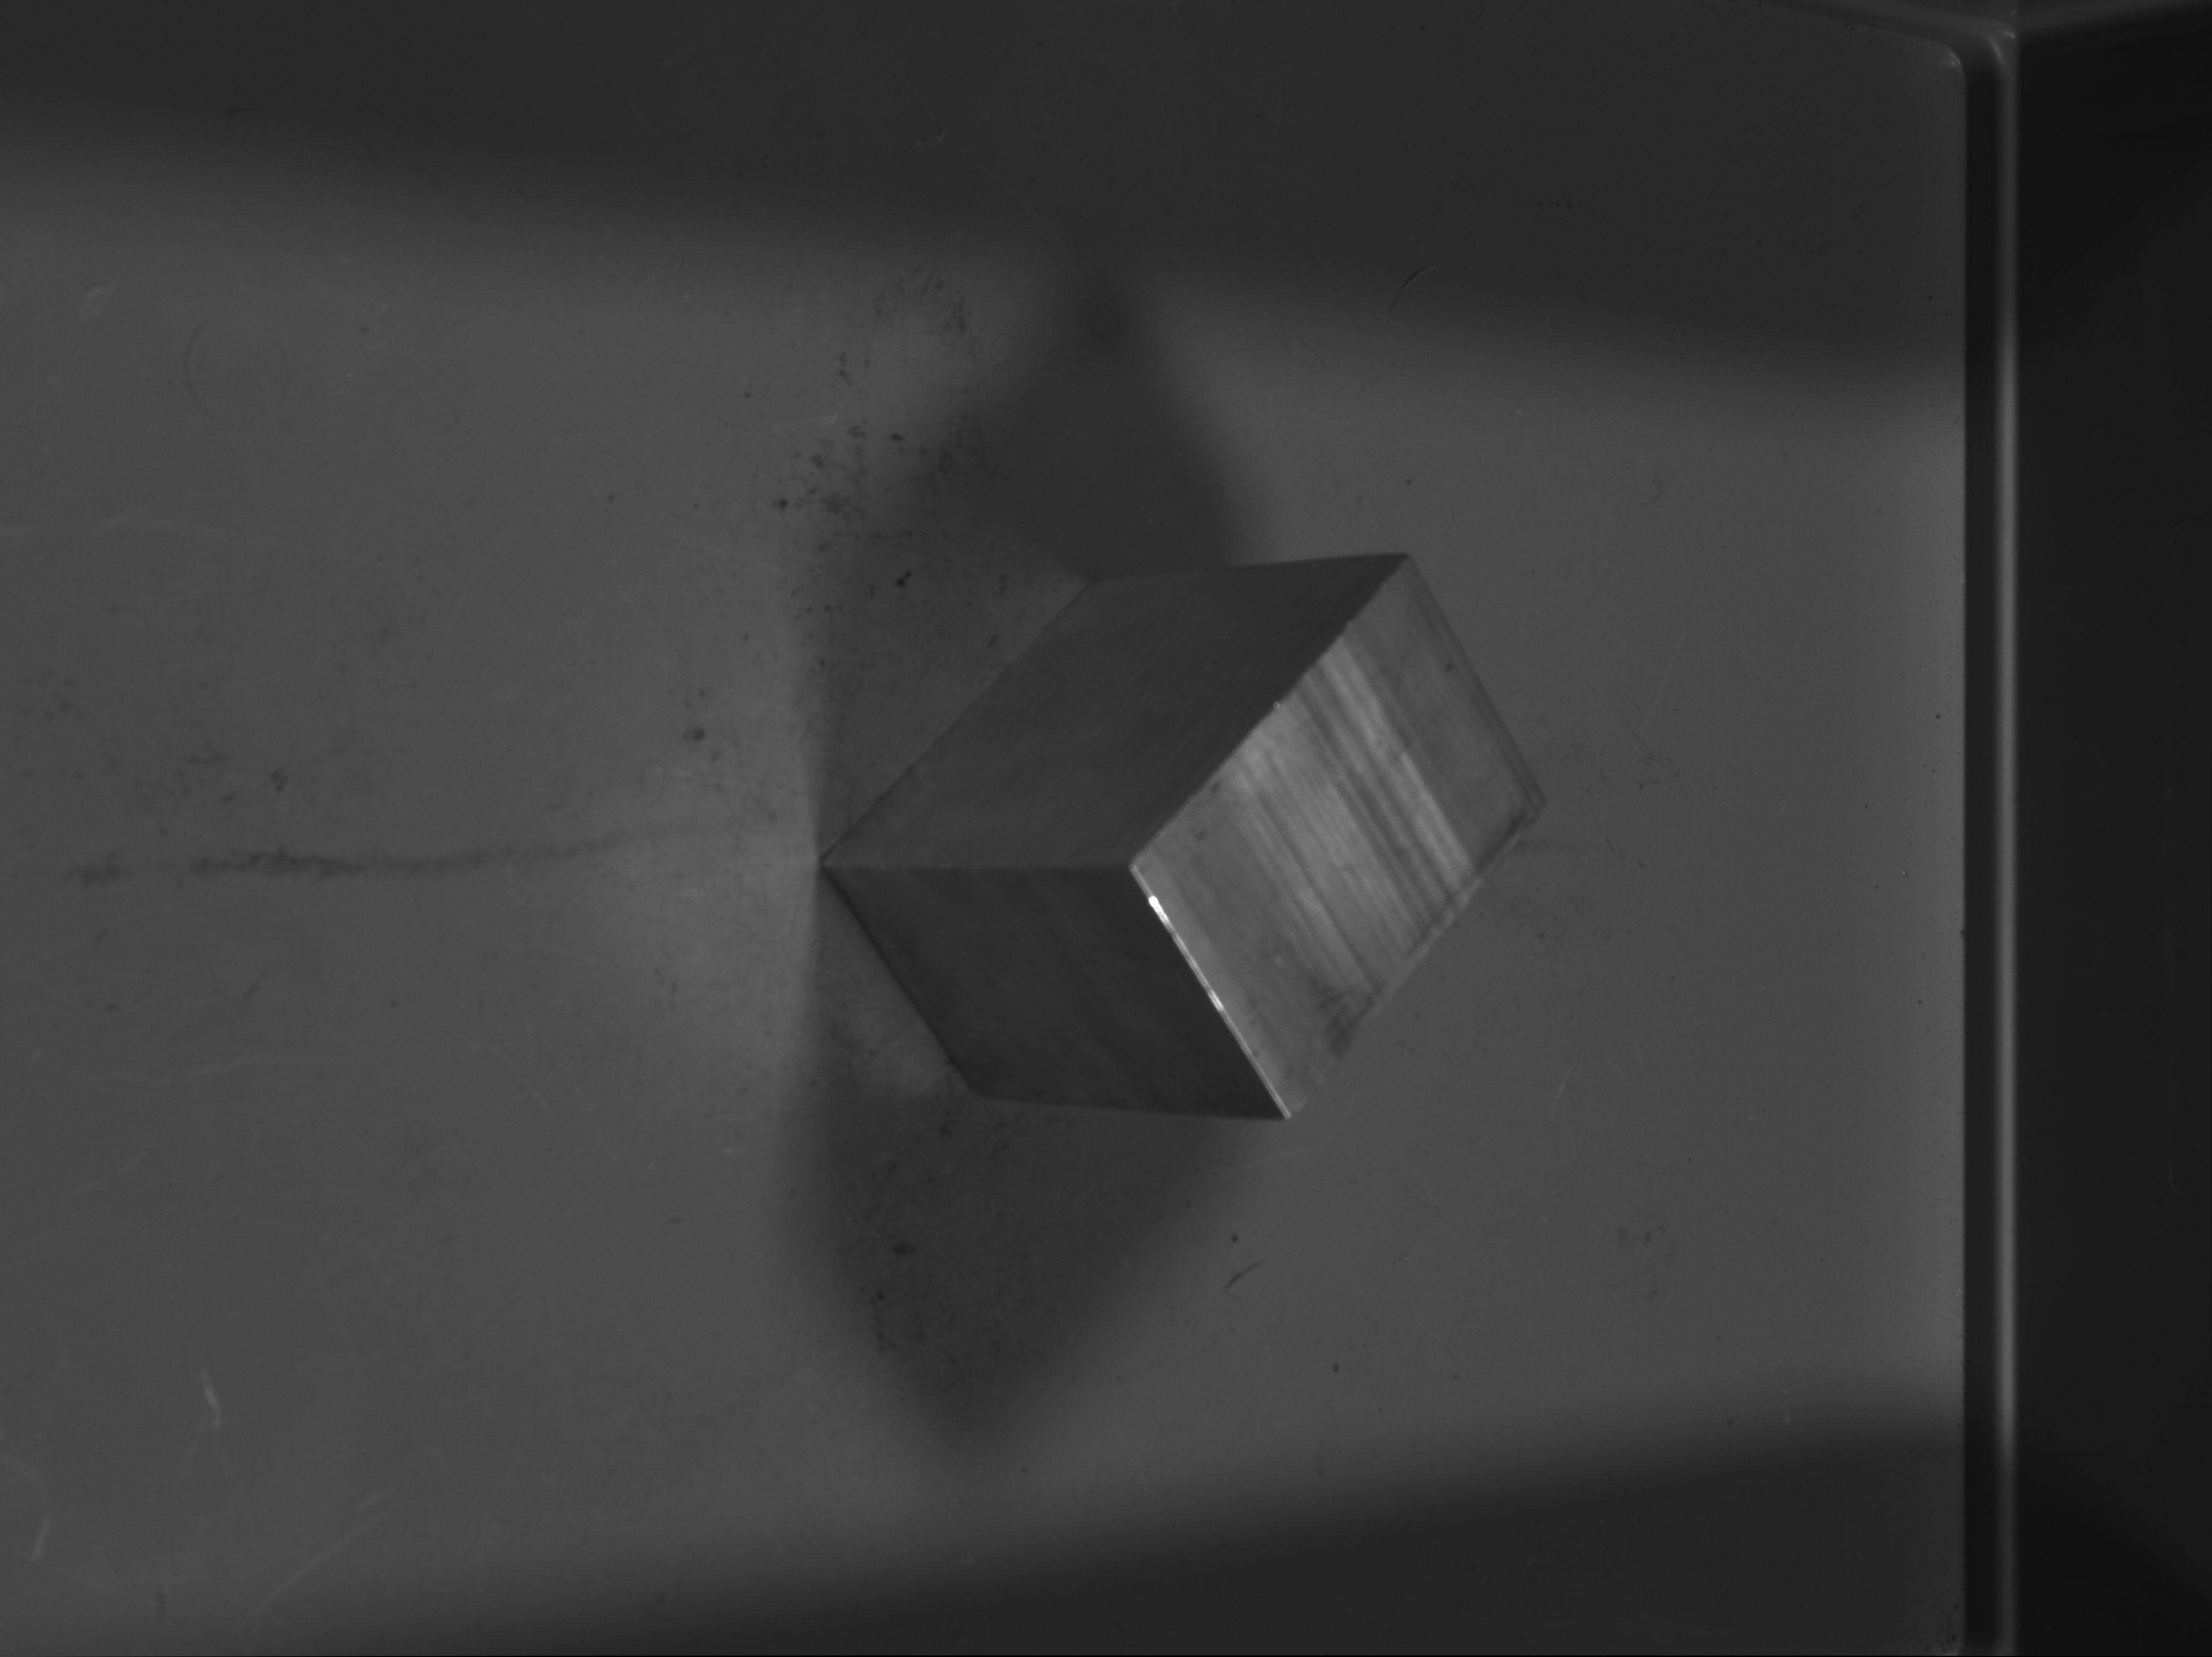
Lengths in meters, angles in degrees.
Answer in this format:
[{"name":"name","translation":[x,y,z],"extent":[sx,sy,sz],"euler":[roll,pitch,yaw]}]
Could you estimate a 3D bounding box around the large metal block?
[{"name":"large metal block","translation":[0.019,0.001,0.614],"extent":[0.080,0.080,0.050],"euler":[-47,118,-30]}]
